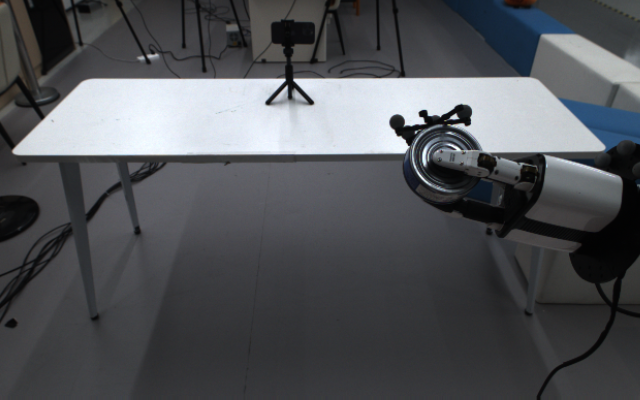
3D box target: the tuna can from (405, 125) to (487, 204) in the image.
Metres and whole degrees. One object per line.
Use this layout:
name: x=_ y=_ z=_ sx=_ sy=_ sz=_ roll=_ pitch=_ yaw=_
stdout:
tuna can: x=0.143 y=-0.035 z=0.539 sx=0.085 sy=0.034 sz=0.085 roll=0 pitch=73 yaw=-2
